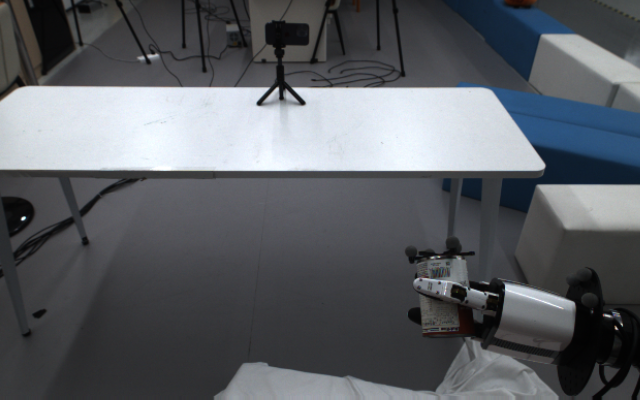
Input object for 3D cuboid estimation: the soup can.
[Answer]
[{"bbox_3d":[0.168,0.128,0.640,0.067,0.067,0.101,-1,72,-4],"label":"soup can"}]
